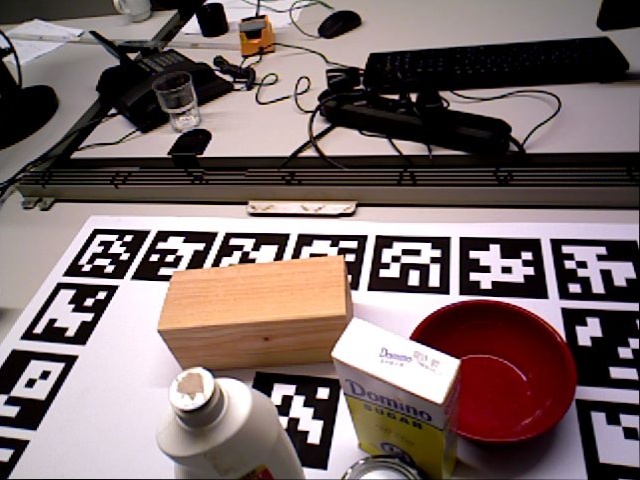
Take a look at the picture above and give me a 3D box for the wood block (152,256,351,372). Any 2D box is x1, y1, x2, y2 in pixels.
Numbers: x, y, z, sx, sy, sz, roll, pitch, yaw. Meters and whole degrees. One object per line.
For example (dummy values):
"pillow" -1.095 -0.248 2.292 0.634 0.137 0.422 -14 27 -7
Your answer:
"wood block" -0.070 0.086 0.616 0.206 0.091 0.089 -5 48 6

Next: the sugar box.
"sugar box" 0.076 0.141 0.453 0.093 0.179 0.044 16 51 30

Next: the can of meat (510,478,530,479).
"can of meat" 0.130 0.241 0.415 0.101 0.085 0.057 -19 41 -10

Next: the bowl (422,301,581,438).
"bowl" 0.176 0.131 0.533 0.162 0.056 0.159 -10 42 8

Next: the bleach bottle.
"bleach bottle" -0.062 0.174 0.401 0.102 0.255 0.067 -17 43 -5

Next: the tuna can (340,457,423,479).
"tuna can" 0.054 0.235 0.466 0.086 0.034 0.084 -8 47 7
